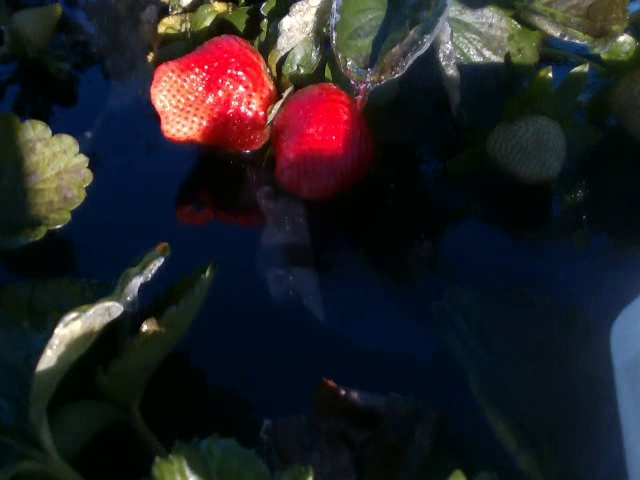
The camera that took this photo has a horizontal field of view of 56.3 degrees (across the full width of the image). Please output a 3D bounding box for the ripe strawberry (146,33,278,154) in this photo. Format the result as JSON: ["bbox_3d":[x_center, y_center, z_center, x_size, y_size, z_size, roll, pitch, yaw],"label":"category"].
[{"bbox_3d":[-0.047,-0.063,0.264,0.069,0.053,0.040,-35,-16,-20],"label":"ripe strawberry"}]

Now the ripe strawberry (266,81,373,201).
[{"bbox_3d":[-0.002,-0.044,0.241,0.043,0.059,0.040,2,-30,6],"label":"ripe strawberry"}]
